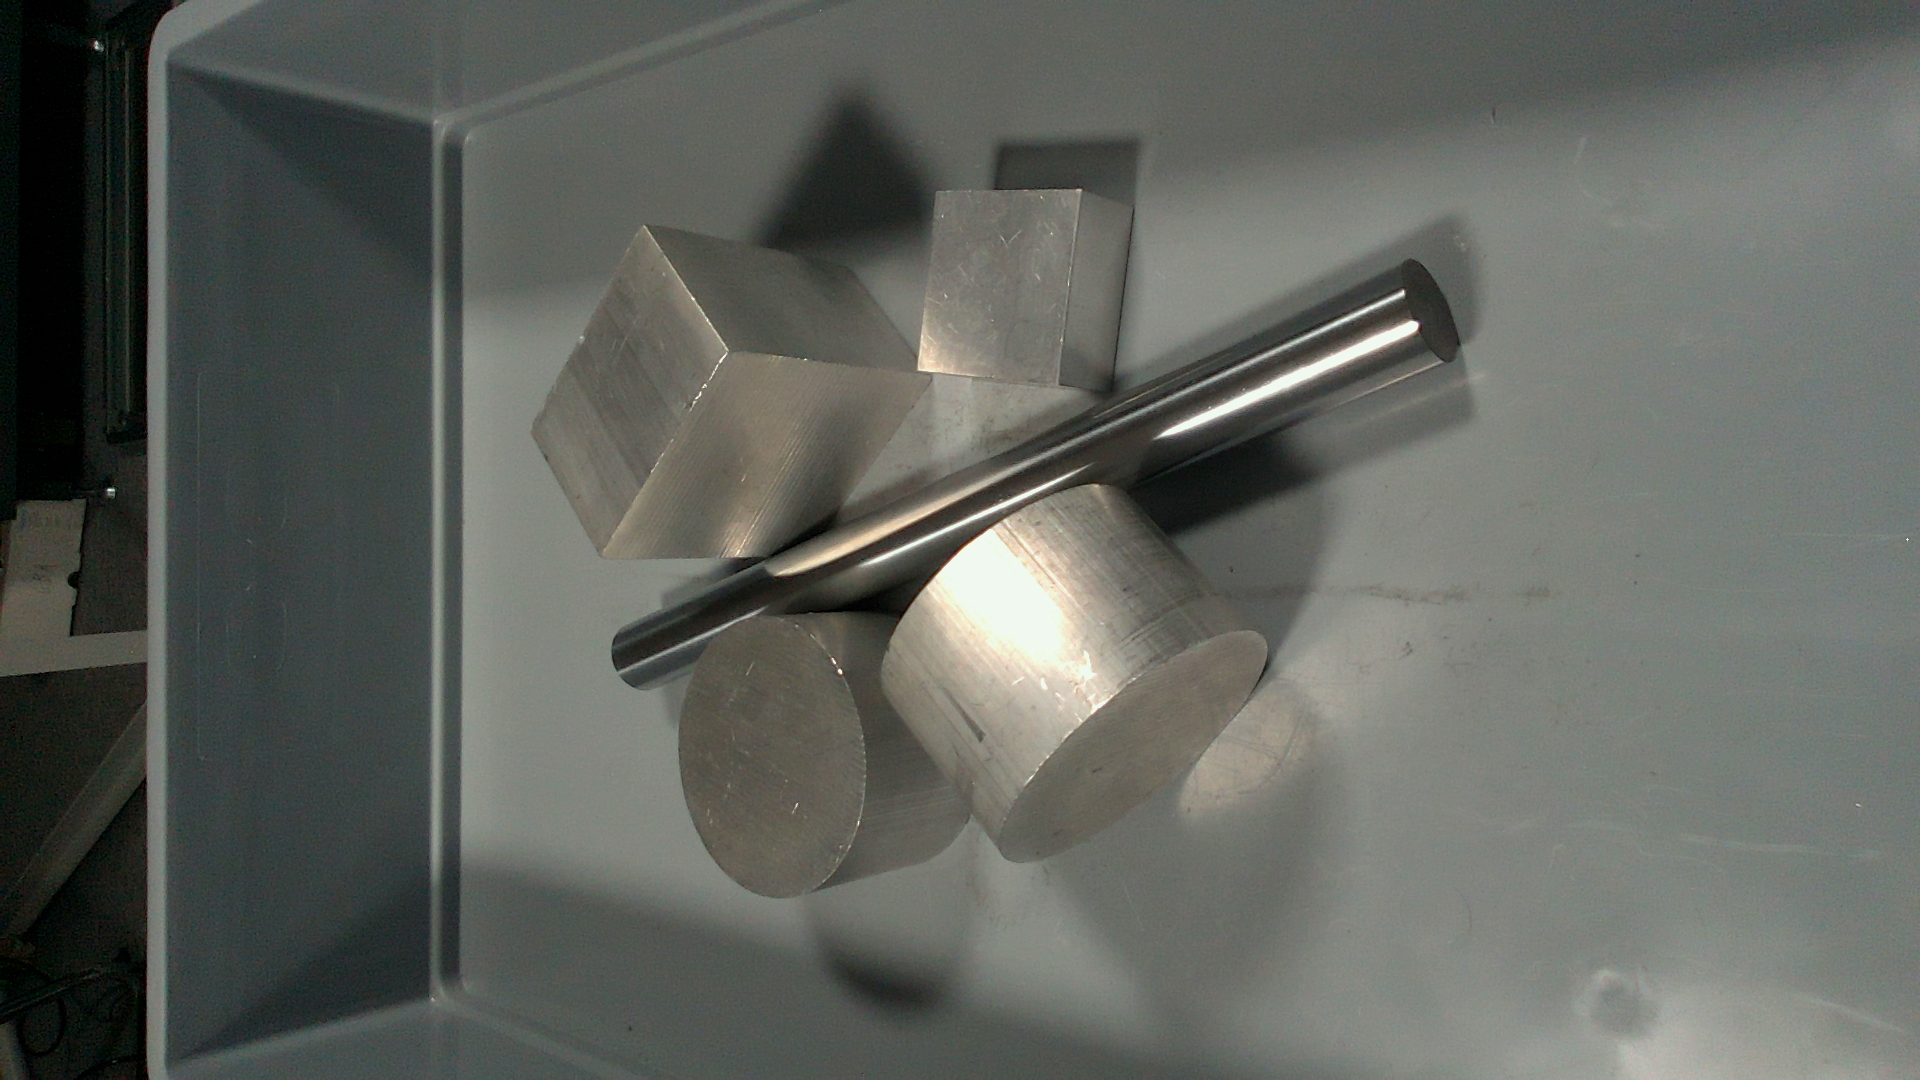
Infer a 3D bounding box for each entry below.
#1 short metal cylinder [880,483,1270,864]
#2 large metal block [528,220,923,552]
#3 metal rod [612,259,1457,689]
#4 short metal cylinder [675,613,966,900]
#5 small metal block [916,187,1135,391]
[{"bbox_3d":[0.028,0.033,0.335,0.050,0.080,0.080,50,120,28],"label":"short metal cylinder"},{"bbox_3d":[-0.069,-0.042,0.417,0.080,0.080,0.050,-51,60,28],"label":"large metal block"},{"bbox_3d":[-0.004,-0.005,0.397,0.299,0.025,0.025,-23,76,38],"label":"metal rod"},{"bbox_3d":[-0.040,0.062,0.410,0.080,0.050,0.080,0,90,40],"label":"short metal cylinder"},{"bbox_3d":[0.017,-0.069,0.379,0.050,0.025,0.050,11,97,40],"label":"small metal block"}]
